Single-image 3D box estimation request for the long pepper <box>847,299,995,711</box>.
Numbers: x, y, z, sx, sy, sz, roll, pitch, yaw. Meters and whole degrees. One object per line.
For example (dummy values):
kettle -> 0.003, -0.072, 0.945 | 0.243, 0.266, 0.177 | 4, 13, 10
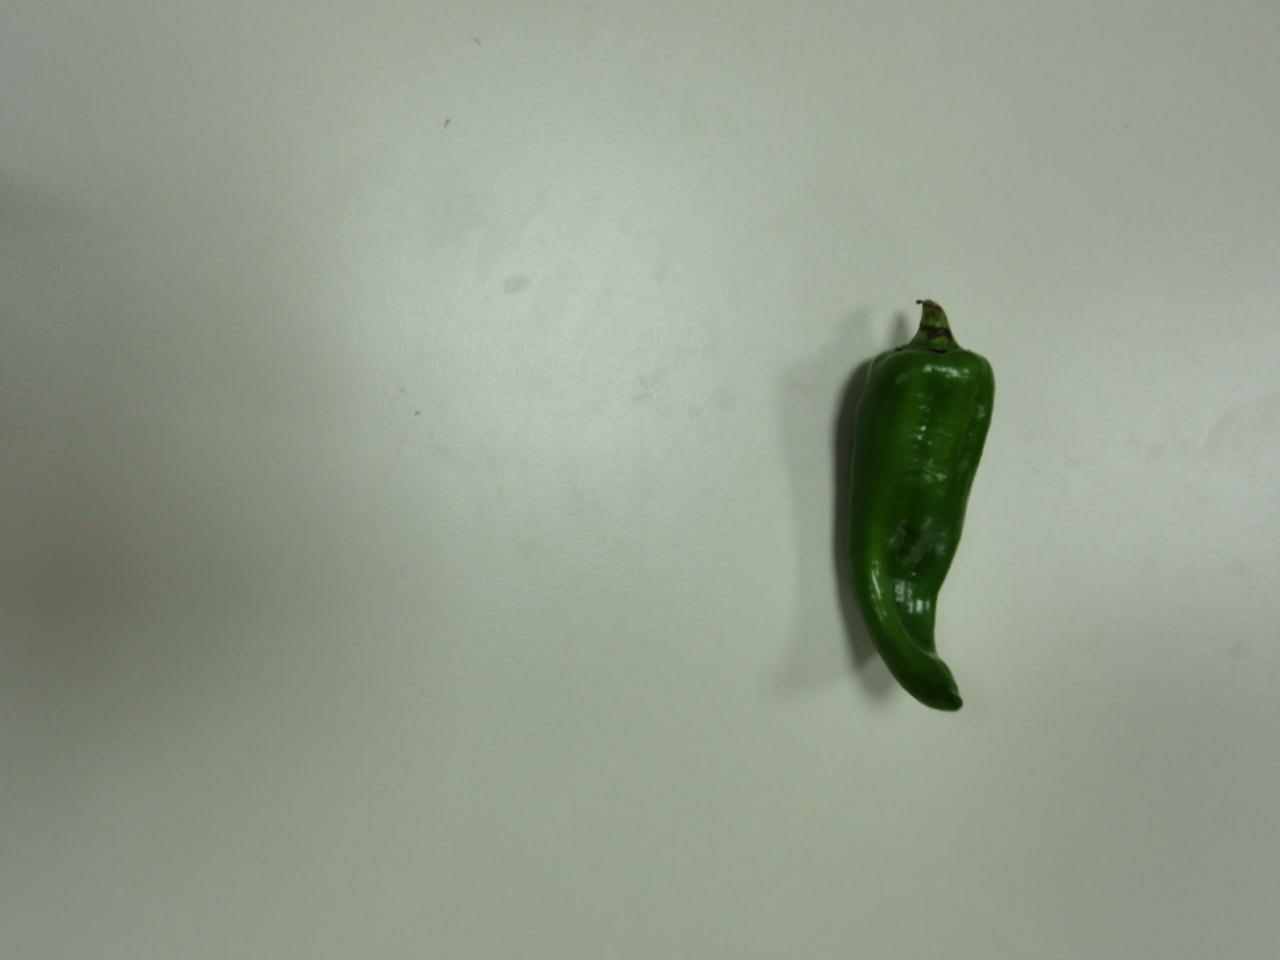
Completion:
long pepper -> 0.121, 0.007, 0.432 | 0.058, 0.065, 0.175 | 8, 89, -11
